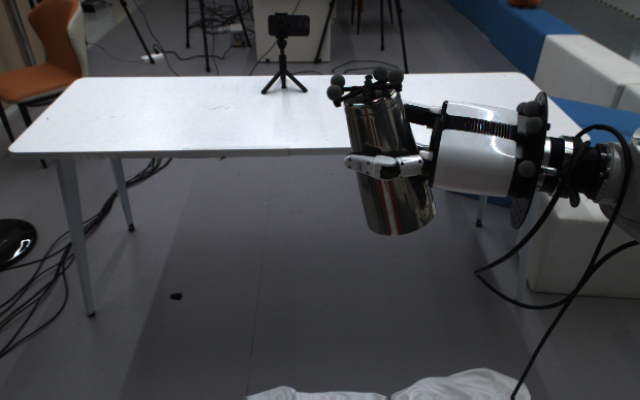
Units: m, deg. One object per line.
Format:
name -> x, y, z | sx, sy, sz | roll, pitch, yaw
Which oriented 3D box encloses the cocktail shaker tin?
cocktail shaker tin -> 0.083, -0.052, 0.599 | 0.093, 0.170, 0.093 | -15, 29, 8
